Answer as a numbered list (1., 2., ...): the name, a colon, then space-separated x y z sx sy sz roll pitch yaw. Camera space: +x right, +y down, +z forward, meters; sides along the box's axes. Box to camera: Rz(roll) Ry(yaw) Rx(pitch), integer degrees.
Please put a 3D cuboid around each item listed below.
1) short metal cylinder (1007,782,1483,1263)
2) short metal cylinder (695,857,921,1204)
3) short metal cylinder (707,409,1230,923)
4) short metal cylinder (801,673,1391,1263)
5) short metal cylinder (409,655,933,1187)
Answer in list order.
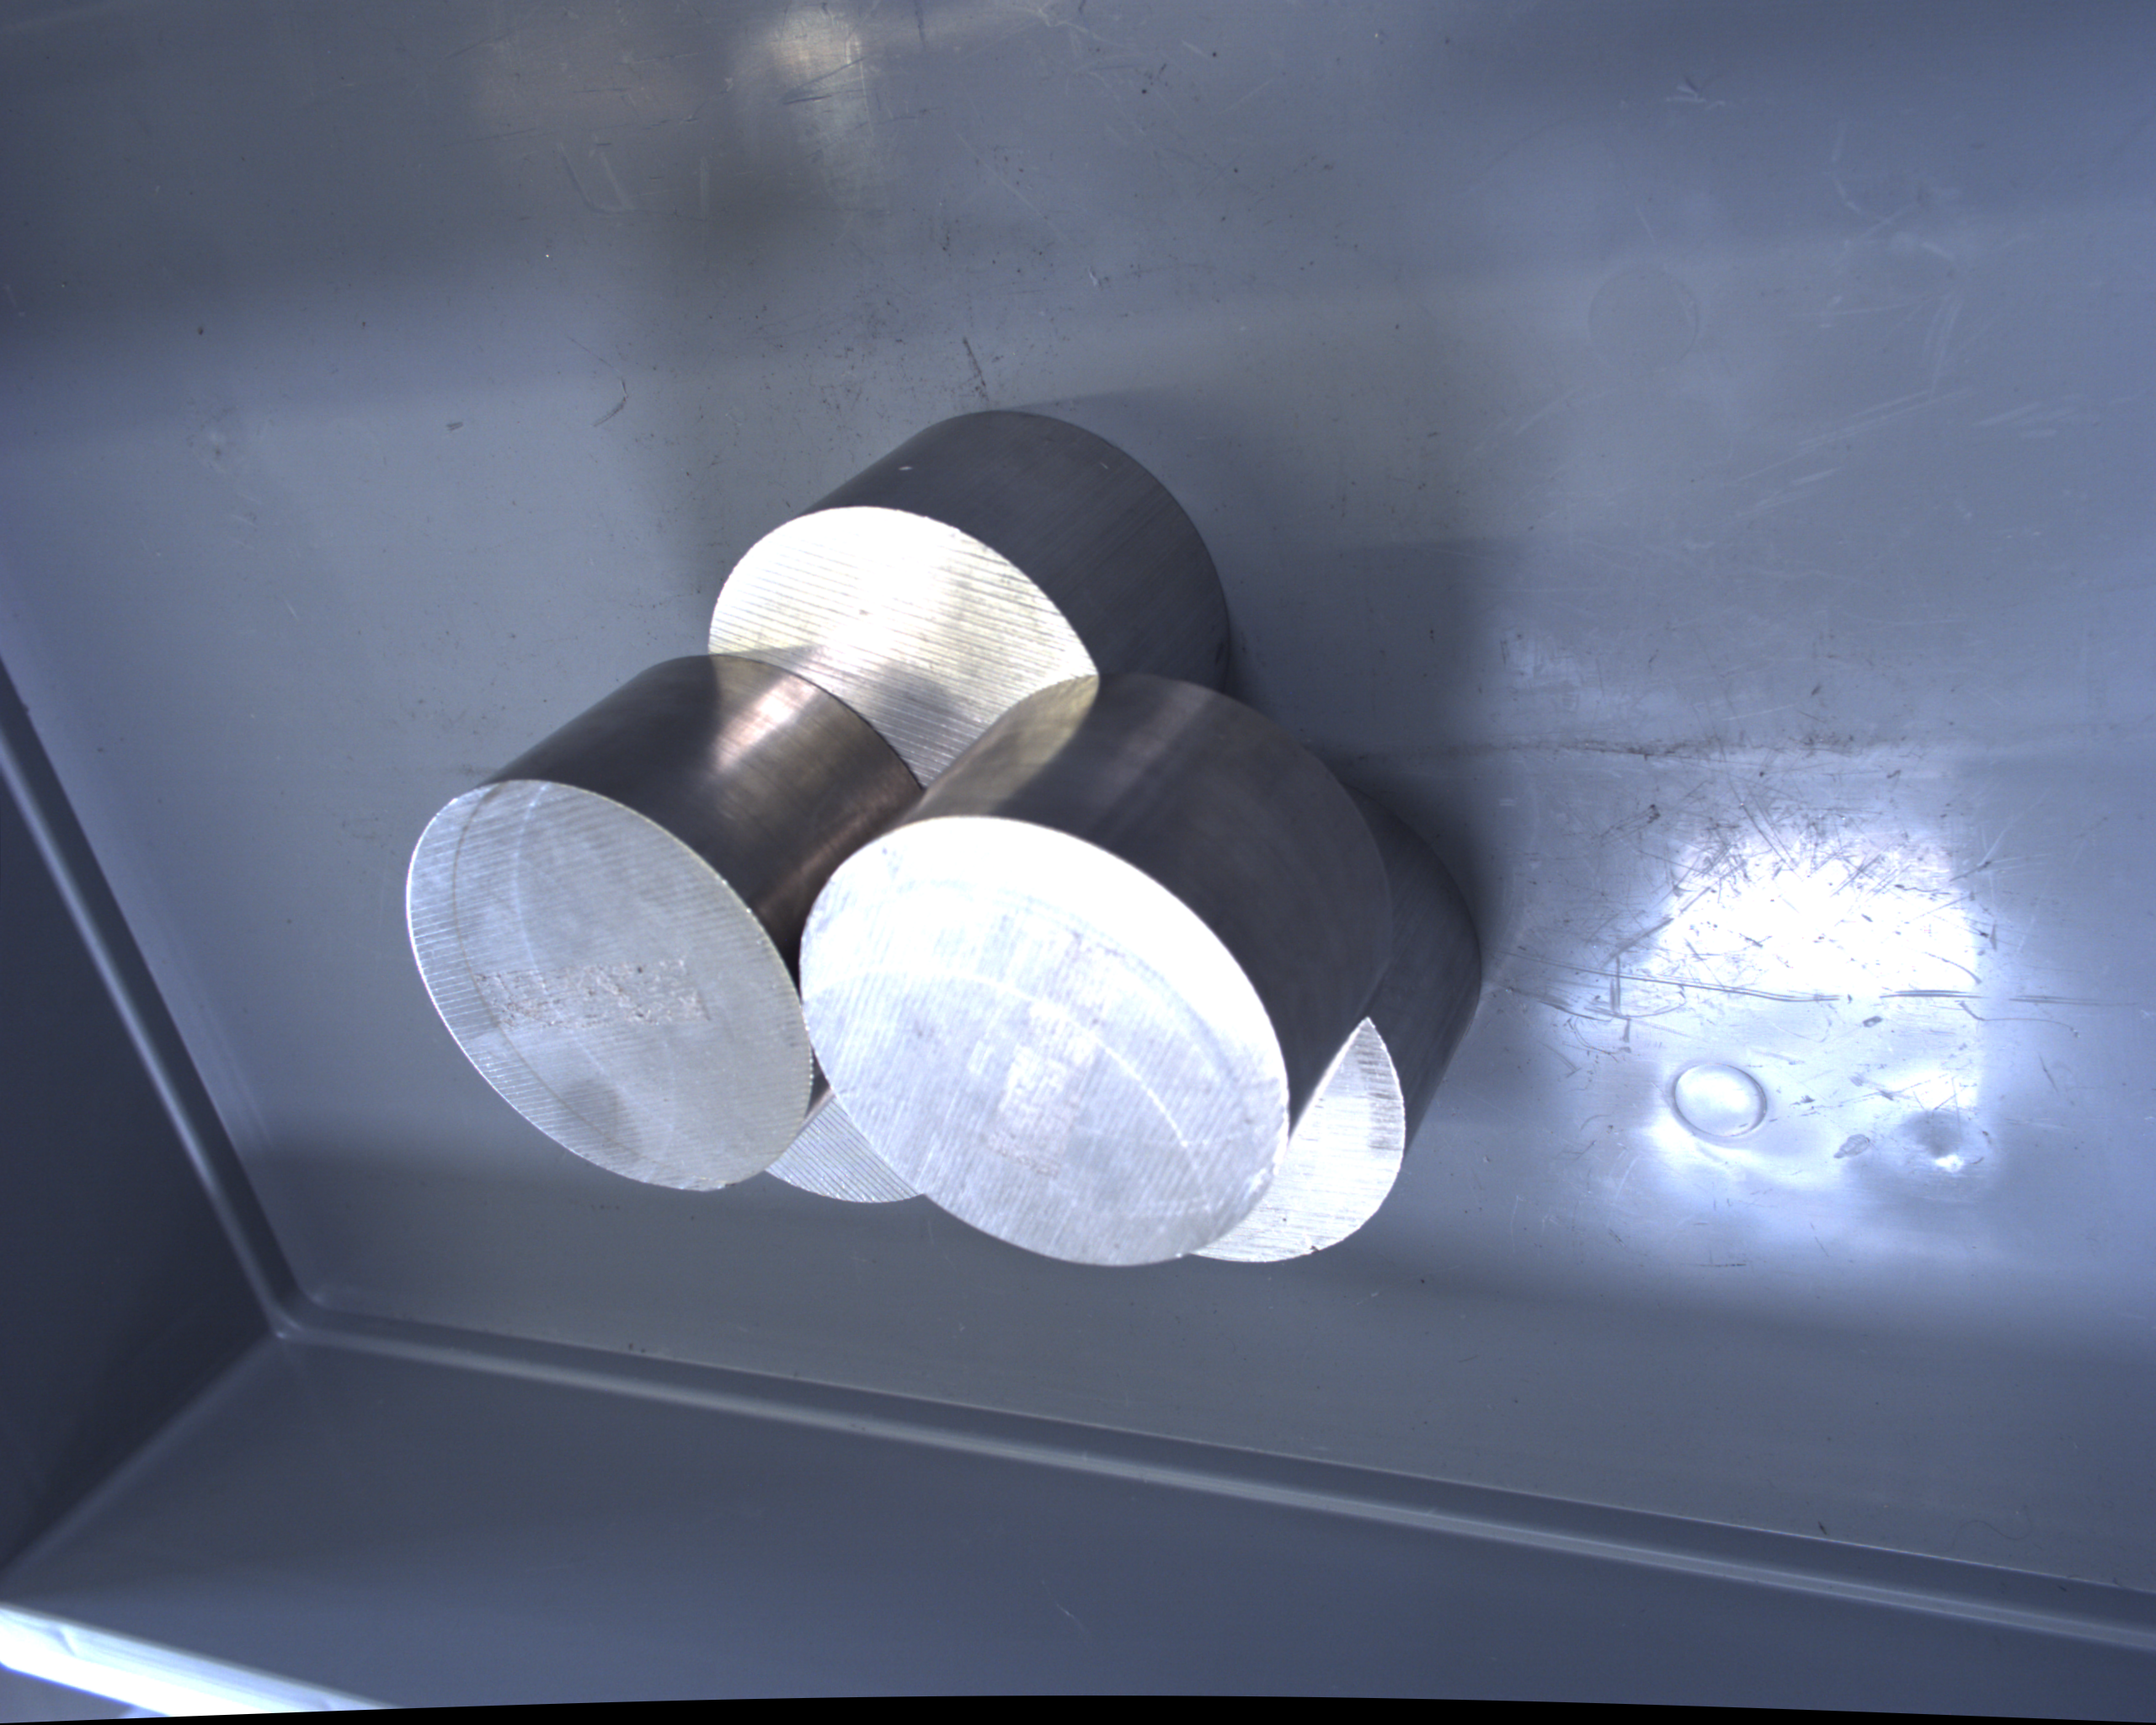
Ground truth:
1. short metal cylinder: 0.030 0.028 0.392 0.080 0.050 0.079 13 124 21
2. short metal cylinder: -0.044 0.023 0.427 0.080 0.050 0.079 13 124 21
3. short metal cylinder: -0.019 -0.036 0.379 0.080 0.050 0.079 13 124 21
4. short metal cylinder: 0.004 0.016 0.333 0.080 0.050 0.079 13 124 21
5. short metal cylinder: -0.069 0.010 0.368 0.080 0.050 0.079 13 124 21
